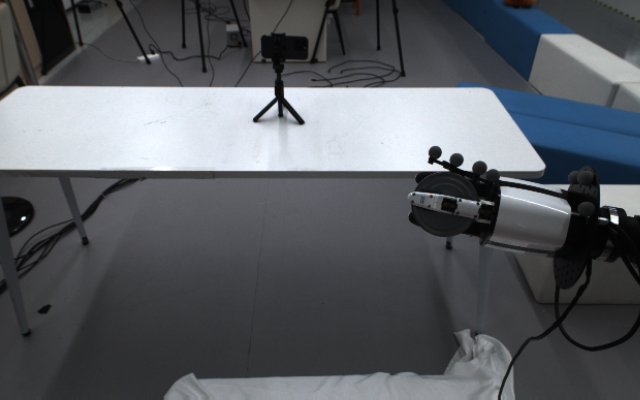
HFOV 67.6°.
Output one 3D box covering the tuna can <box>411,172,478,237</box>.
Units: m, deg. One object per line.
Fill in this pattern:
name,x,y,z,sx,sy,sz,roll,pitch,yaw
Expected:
tuna can,0.168,0.004,0.646,0.085,0.085,0.034,13,2,16
